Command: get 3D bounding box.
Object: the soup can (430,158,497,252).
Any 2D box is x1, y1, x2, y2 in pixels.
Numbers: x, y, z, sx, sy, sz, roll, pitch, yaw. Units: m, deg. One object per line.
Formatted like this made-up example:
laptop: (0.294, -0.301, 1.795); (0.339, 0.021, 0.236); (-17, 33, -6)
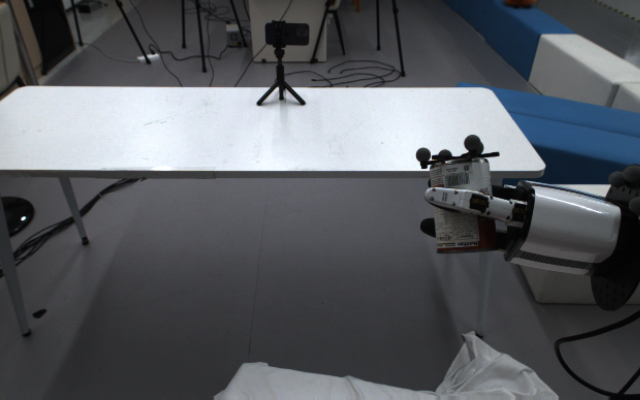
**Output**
soup can: (0.165, 0.007, 0.553); (0.067, 0.101, 0.067); (-5, -5, 0)
